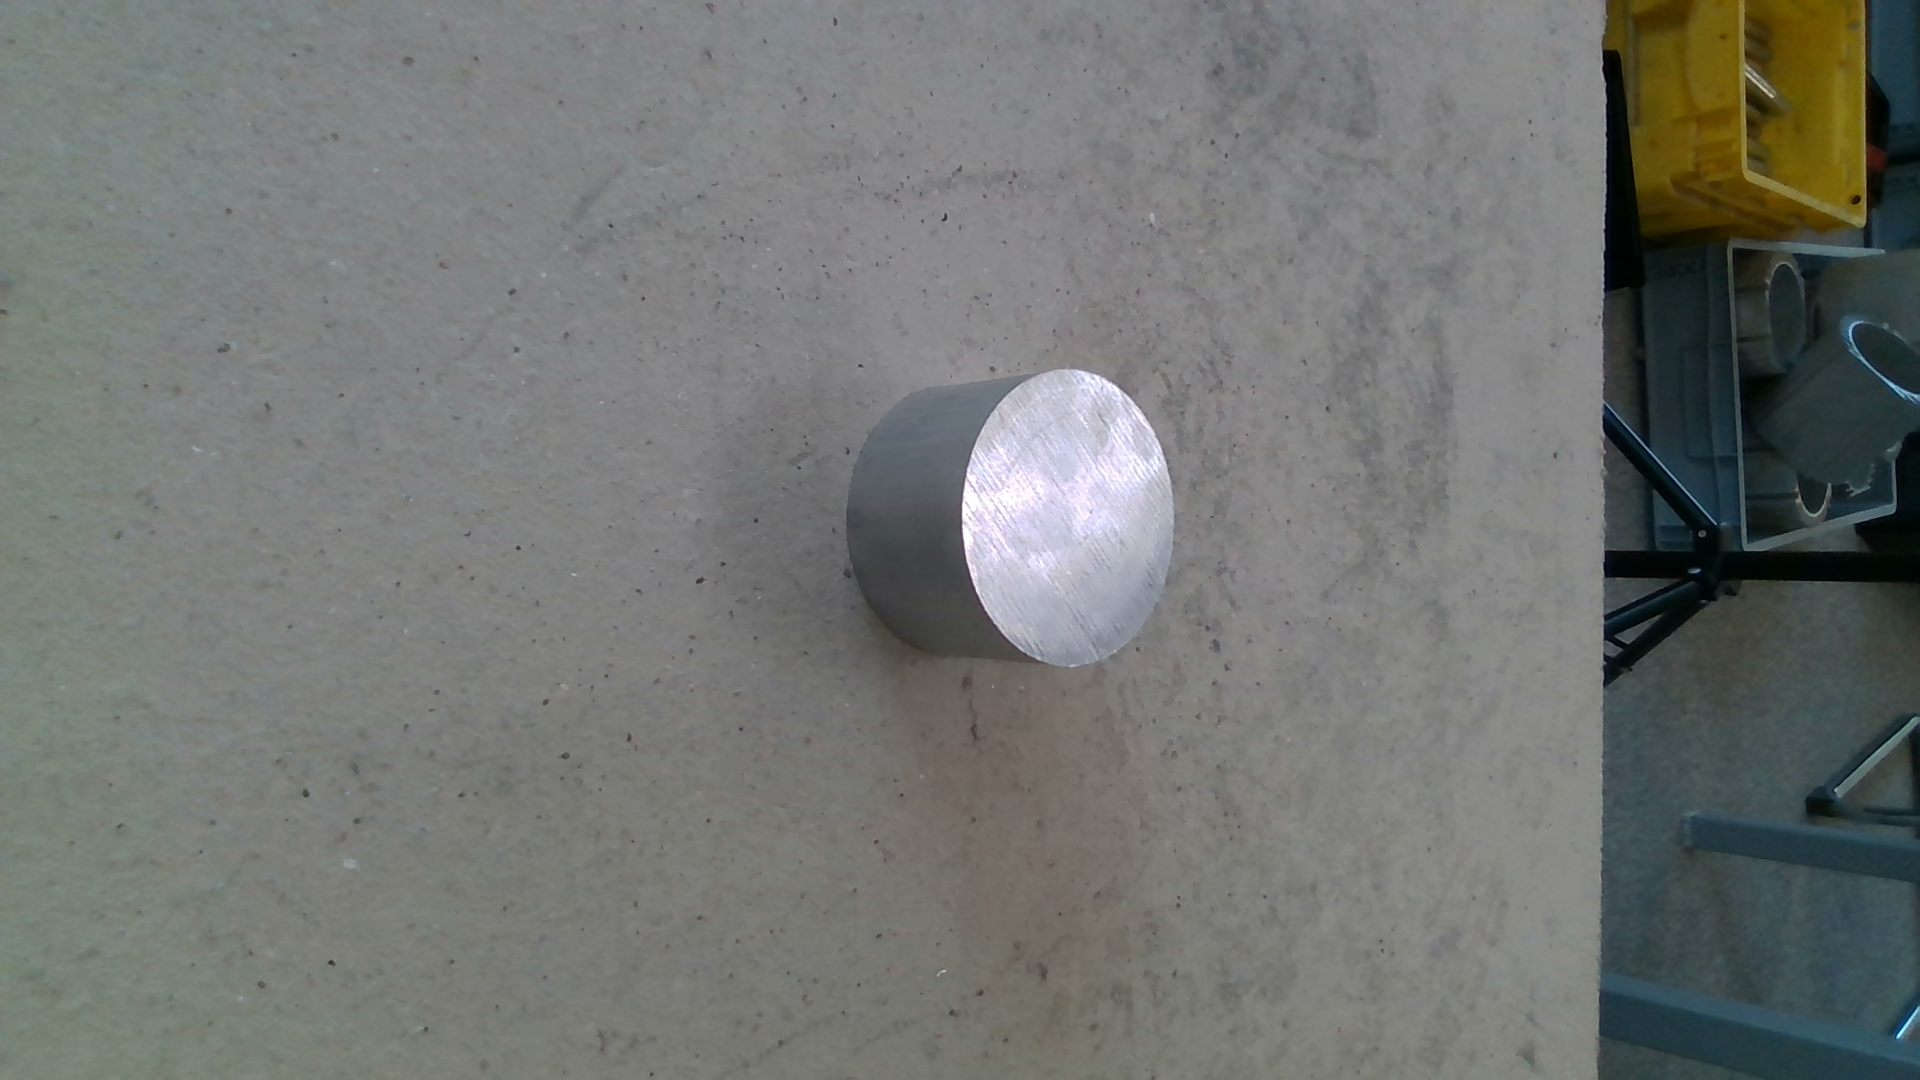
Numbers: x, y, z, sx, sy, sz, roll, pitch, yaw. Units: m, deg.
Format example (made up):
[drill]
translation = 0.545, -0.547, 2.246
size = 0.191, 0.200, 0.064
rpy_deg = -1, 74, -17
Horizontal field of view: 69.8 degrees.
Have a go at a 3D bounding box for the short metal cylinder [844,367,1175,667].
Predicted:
[short metal cylinder]
translation = 0.015, -0.006, 0.387
size = 0.080, 0.050, 0.080
rpy_deg = -1, 92, -40
